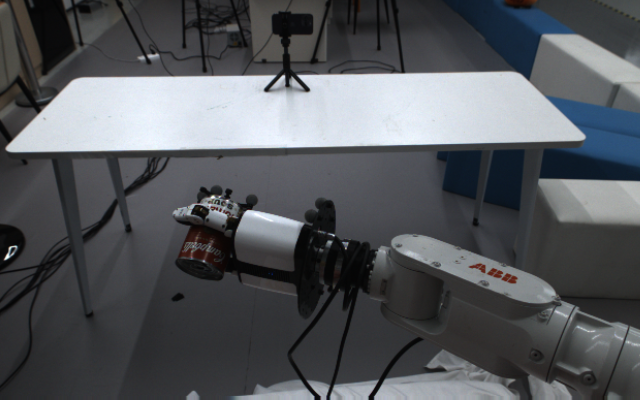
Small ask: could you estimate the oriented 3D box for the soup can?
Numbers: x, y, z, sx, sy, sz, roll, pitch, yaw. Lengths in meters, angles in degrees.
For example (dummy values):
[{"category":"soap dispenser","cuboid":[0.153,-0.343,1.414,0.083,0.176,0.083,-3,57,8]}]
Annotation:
[{"category":"soup can","cuboid":[-0.150,0.053,0.672,0.067,0.067,0.101,9,58,10]}]
